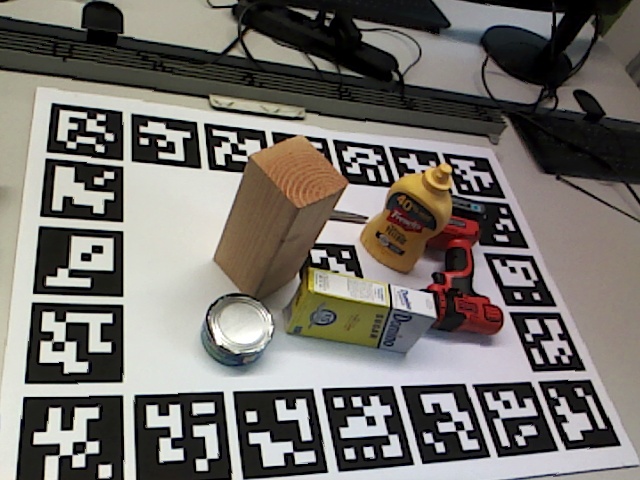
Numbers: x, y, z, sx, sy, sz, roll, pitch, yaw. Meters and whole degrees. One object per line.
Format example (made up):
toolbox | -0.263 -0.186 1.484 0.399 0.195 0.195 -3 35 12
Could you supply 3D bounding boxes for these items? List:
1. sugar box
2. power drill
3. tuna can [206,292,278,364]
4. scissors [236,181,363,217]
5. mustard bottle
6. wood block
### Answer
sugar box | 0.062 0.098 0.818 0.176 0.093 0.045 14 47 -16
power drill | 0.173 0.043 0.930 0.184 0.057 0.187 14 57 -13
tuna can | -0.098 0.110 0.772 0.085 0.034 0.086 12 51 -16
scissors | -0.026 -0.047 0.940 0.202 0.016 0.088 5 49 -20
mustard bottle | 0.140 -0.035 0.898 0.096 0.191 0.058 43 51 10
wood block | -0.054 -0.018 0.792 0.090 0.206 0.090 -25 69 -36
